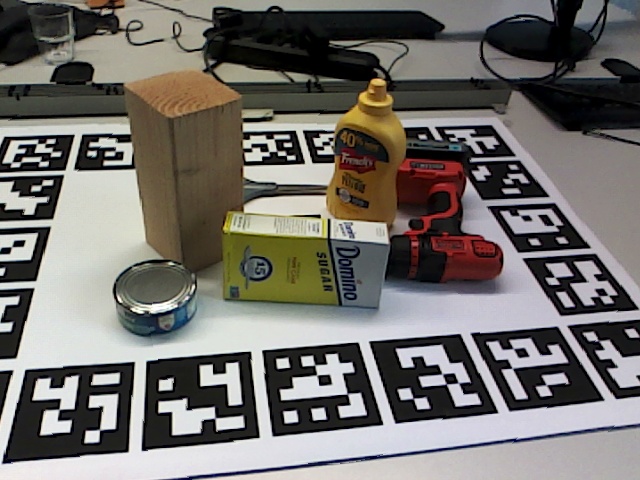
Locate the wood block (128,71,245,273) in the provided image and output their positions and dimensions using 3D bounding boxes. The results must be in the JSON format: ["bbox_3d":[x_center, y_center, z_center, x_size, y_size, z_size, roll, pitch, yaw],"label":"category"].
[{"bbox_3d":[-0.147,-0.071,0.704,0.090,0.206,0.090,-25,49,-31],"label":"wood block"}]

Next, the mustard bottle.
[{"bbox_3d":[0.061,-0.104,0.773,0.097,0.191,0.058,31,47,26],"label":"mustard bottle"}]

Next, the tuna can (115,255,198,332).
[{"bbox_3d":[-0.174,0.056,0.662,0.085,0.033,0.086,3,41,-3],"label":"tuna can"}]

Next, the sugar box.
[{"bbox_3d":[-0.011,0.023,0.681,0.176,0.092,0.045,6,37,-2],"label":"sugar box"}]

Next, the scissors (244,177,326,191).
[{"bbox_3d":[-0.091,-0.076,0.846,0.202,0.016,0.088,-2,36,-8],"label":"scissors"}]

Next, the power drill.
[{"bbox_3d":[0.113,-0.029,0.780,0.184,0.057,0.187,5,47,1],"label":"power drill"}]
